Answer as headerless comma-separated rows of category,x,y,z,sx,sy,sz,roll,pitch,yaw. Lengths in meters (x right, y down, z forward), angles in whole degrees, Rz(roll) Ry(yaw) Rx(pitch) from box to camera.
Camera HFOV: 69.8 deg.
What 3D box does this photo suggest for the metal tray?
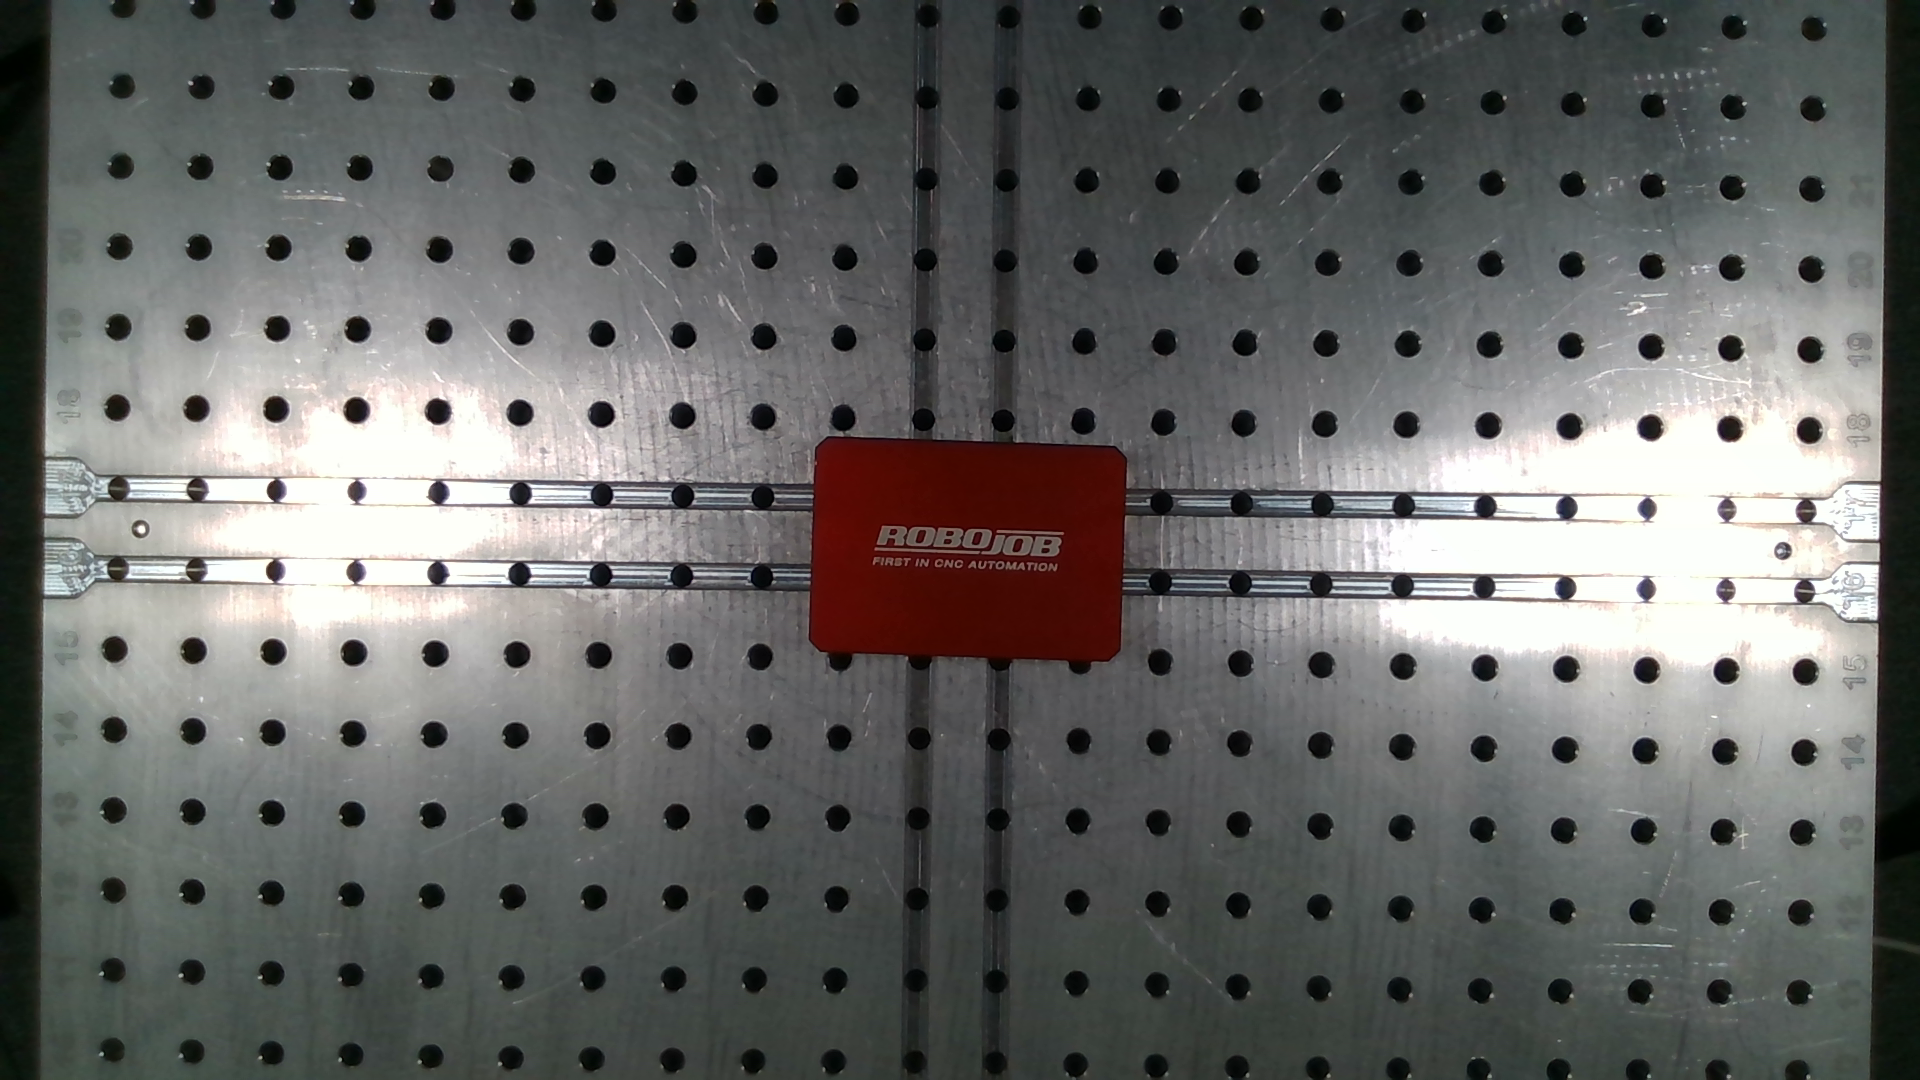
metal tray,0.003,0.003,0.586,0.130,0.030,0.090,2,90,0
